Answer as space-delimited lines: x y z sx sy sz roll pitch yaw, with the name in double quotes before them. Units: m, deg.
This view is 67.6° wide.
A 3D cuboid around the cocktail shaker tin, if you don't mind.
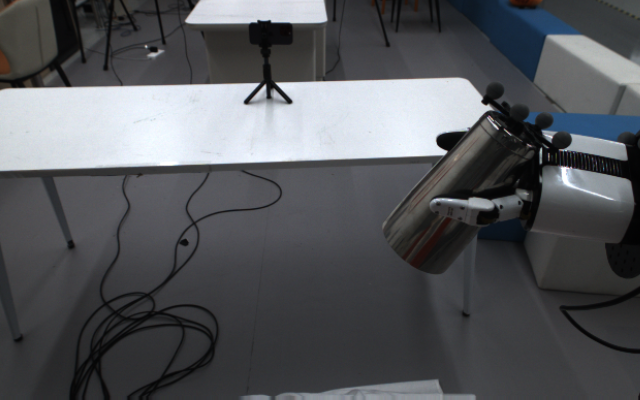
"cocktail shaker tin" 0.155 -0.014 0.529 0.093 0.170 0.093 26 32 -17
